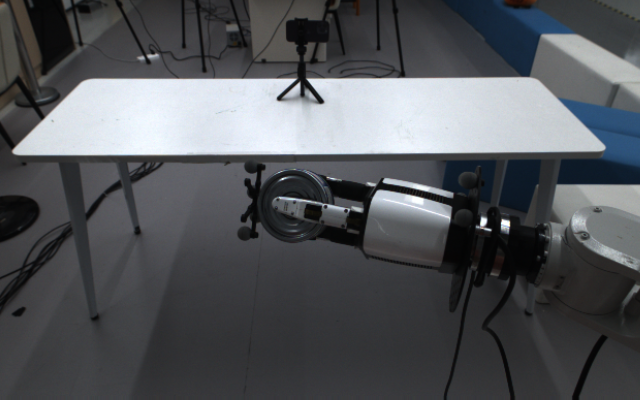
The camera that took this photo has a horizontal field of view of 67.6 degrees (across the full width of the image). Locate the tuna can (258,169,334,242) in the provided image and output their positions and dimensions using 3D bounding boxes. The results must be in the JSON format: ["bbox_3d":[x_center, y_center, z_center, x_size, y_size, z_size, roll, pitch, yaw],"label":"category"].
[{"bbox_3d":[-0.024,0.009,0.557,0.085,0.085,0.034,9,2,10],"label":"tuna can"}]
